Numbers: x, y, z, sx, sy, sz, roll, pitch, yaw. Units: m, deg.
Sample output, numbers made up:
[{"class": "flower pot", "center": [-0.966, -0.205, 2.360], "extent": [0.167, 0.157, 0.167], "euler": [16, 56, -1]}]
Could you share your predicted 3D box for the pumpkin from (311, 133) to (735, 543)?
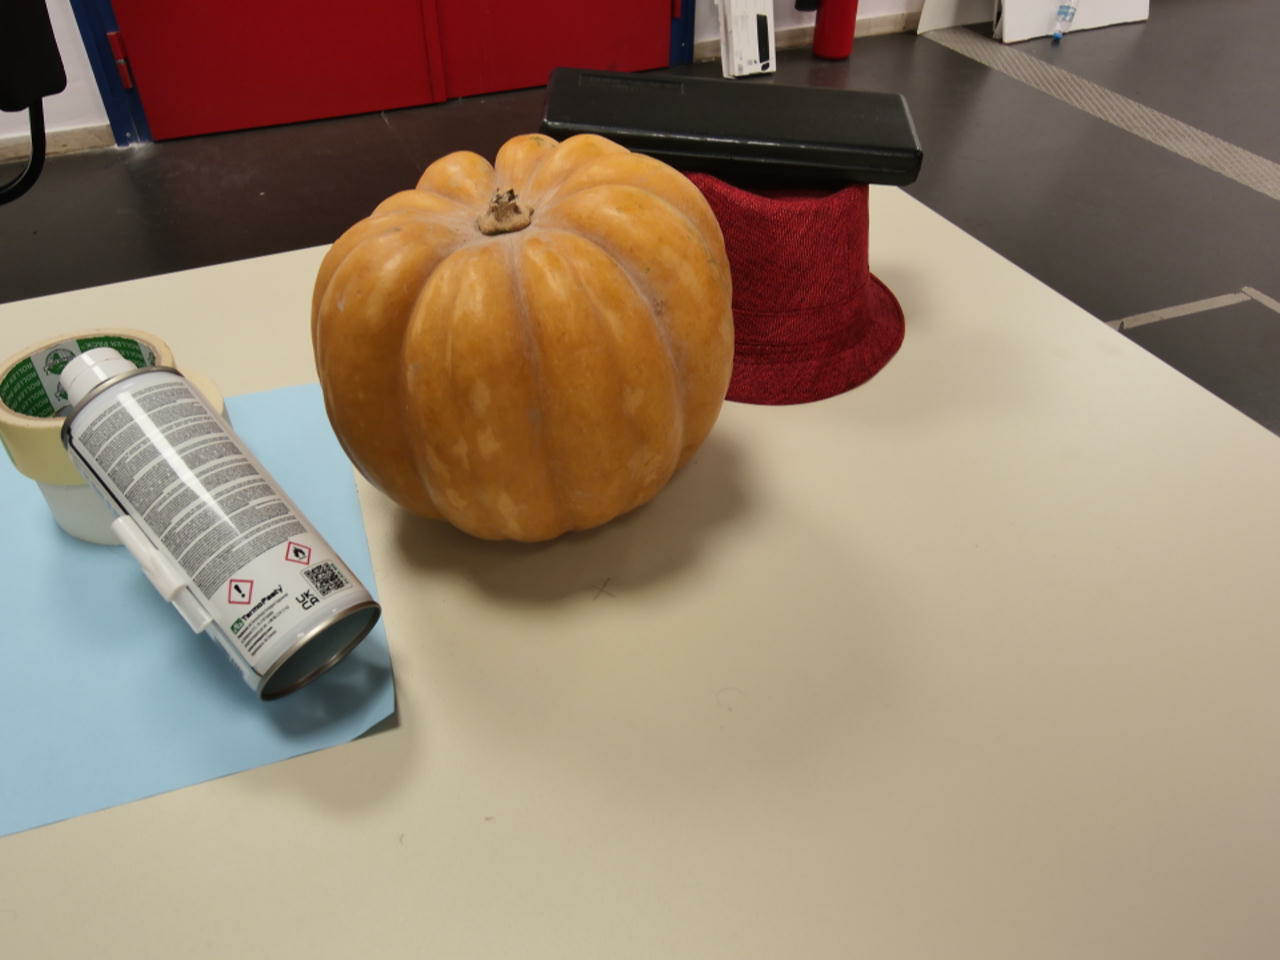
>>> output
[{"class": "pumpkin", "center": [-0.058, -0.075, 0.543], "extent": [0.230, 0.194, 0.230], "euler": [0, 39, 0]}]
